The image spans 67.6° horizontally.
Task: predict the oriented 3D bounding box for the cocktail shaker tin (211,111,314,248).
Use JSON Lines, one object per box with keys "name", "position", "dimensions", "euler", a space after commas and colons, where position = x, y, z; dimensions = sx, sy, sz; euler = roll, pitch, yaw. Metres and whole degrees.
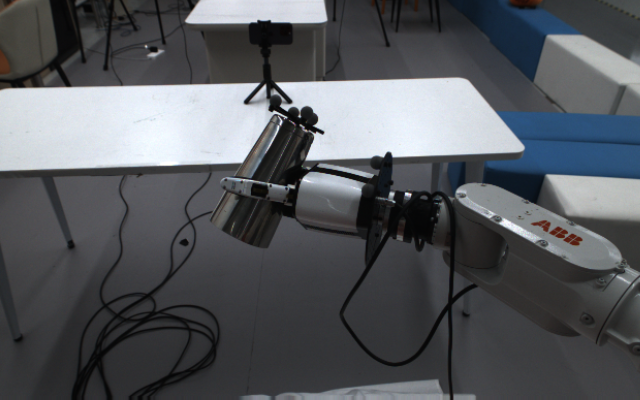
{"name": "cocktail shaker tin", "position": [-0.076, -0.030, 0.677], "dimensions": [0.093, 0.170, 0.093], "euler": [27, 2, -1]}
